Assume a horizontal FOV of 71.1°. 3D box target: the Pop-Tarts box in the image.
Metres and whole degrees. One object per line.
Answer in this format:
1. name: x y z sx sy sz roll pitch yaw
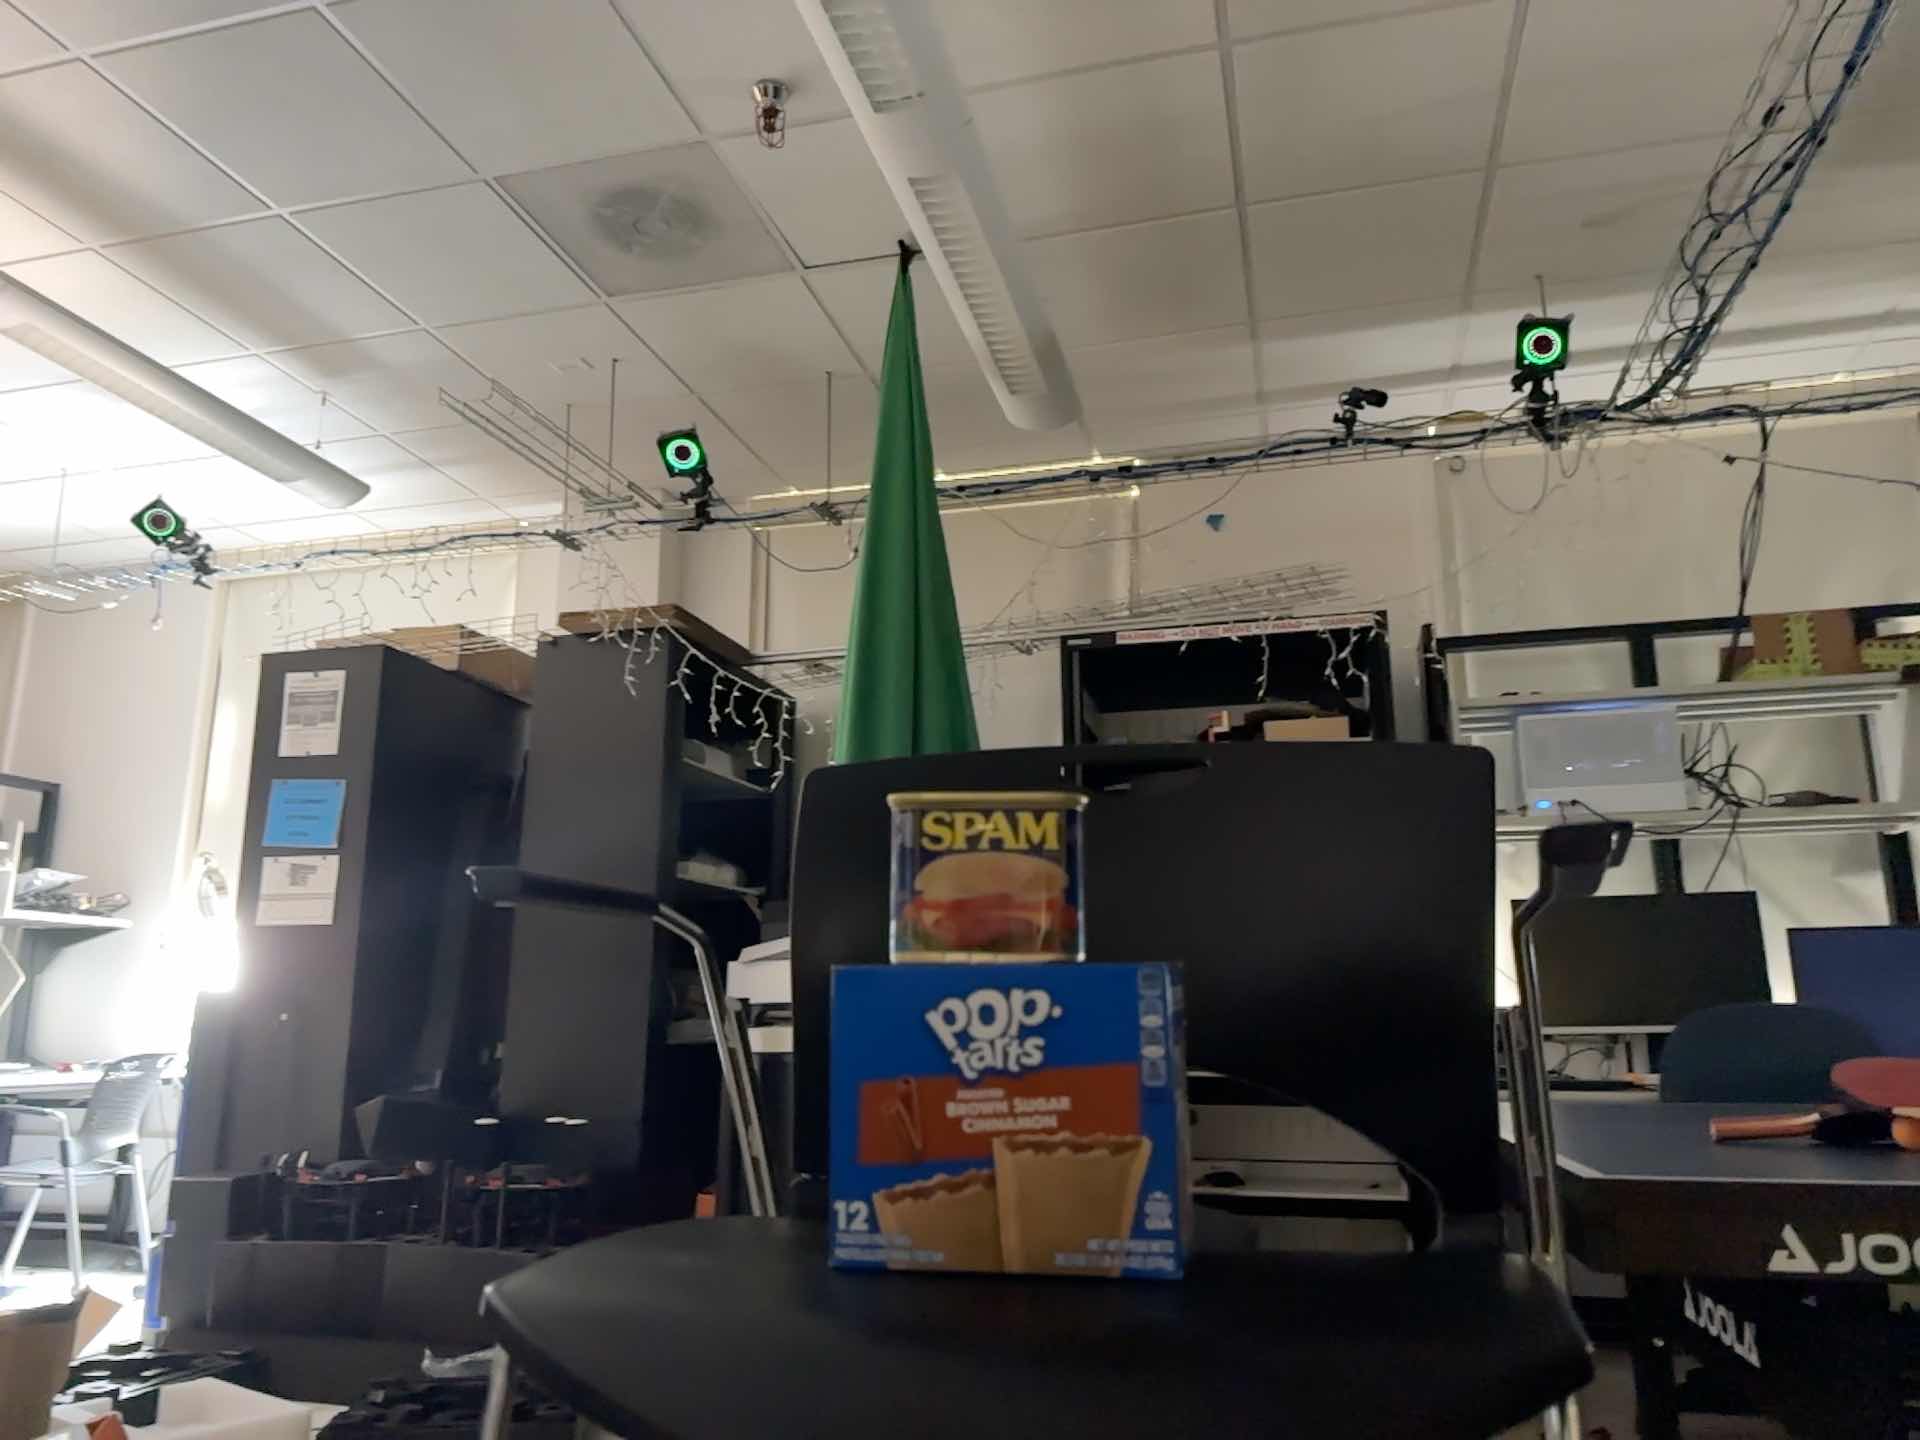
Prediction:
1. Pop-Tarts box: 0.026 0.193 0.669 0.161 0.135 0.075 -3 -10 11

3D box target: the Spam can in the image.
1. Spam can: 0.013 0.080 0.685 0.100 0.083 0.056 -1 -9 8
